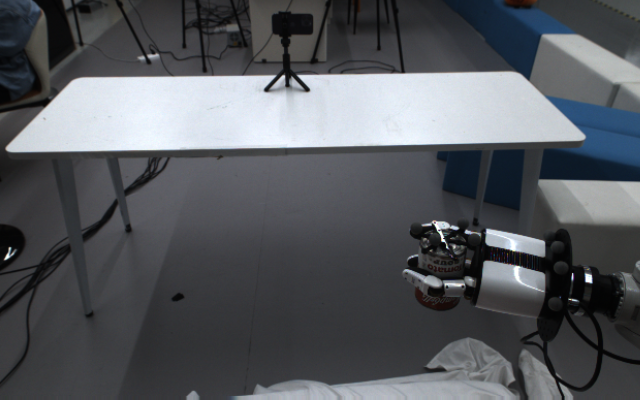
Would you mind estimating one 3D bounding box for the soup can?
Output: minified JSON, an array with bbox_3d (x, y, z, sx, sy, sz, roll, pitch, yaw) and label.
[{"bbox_3d":[0.178,0.101,0.712,0.067,0.101,0.067,-2,33,1],"label":"soup can"}]
